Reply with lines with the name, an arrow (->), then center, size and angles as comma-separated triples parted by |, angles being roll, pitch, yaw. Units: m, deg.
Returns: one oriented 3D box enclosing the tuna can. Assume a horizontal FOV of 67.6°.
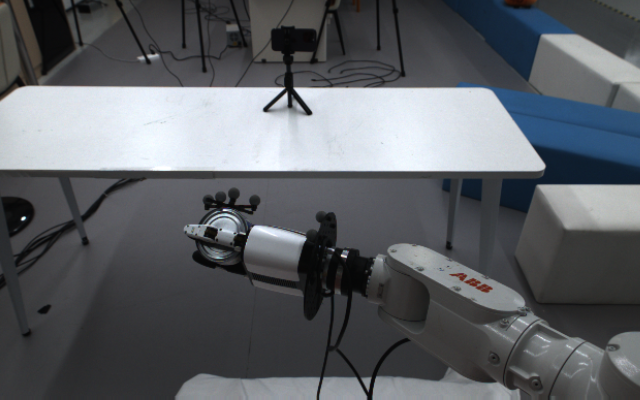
tuna can -> -0.144, 0.056, 0.740 | 0.085, 0.034, 0.085 | -5, 71, 14
